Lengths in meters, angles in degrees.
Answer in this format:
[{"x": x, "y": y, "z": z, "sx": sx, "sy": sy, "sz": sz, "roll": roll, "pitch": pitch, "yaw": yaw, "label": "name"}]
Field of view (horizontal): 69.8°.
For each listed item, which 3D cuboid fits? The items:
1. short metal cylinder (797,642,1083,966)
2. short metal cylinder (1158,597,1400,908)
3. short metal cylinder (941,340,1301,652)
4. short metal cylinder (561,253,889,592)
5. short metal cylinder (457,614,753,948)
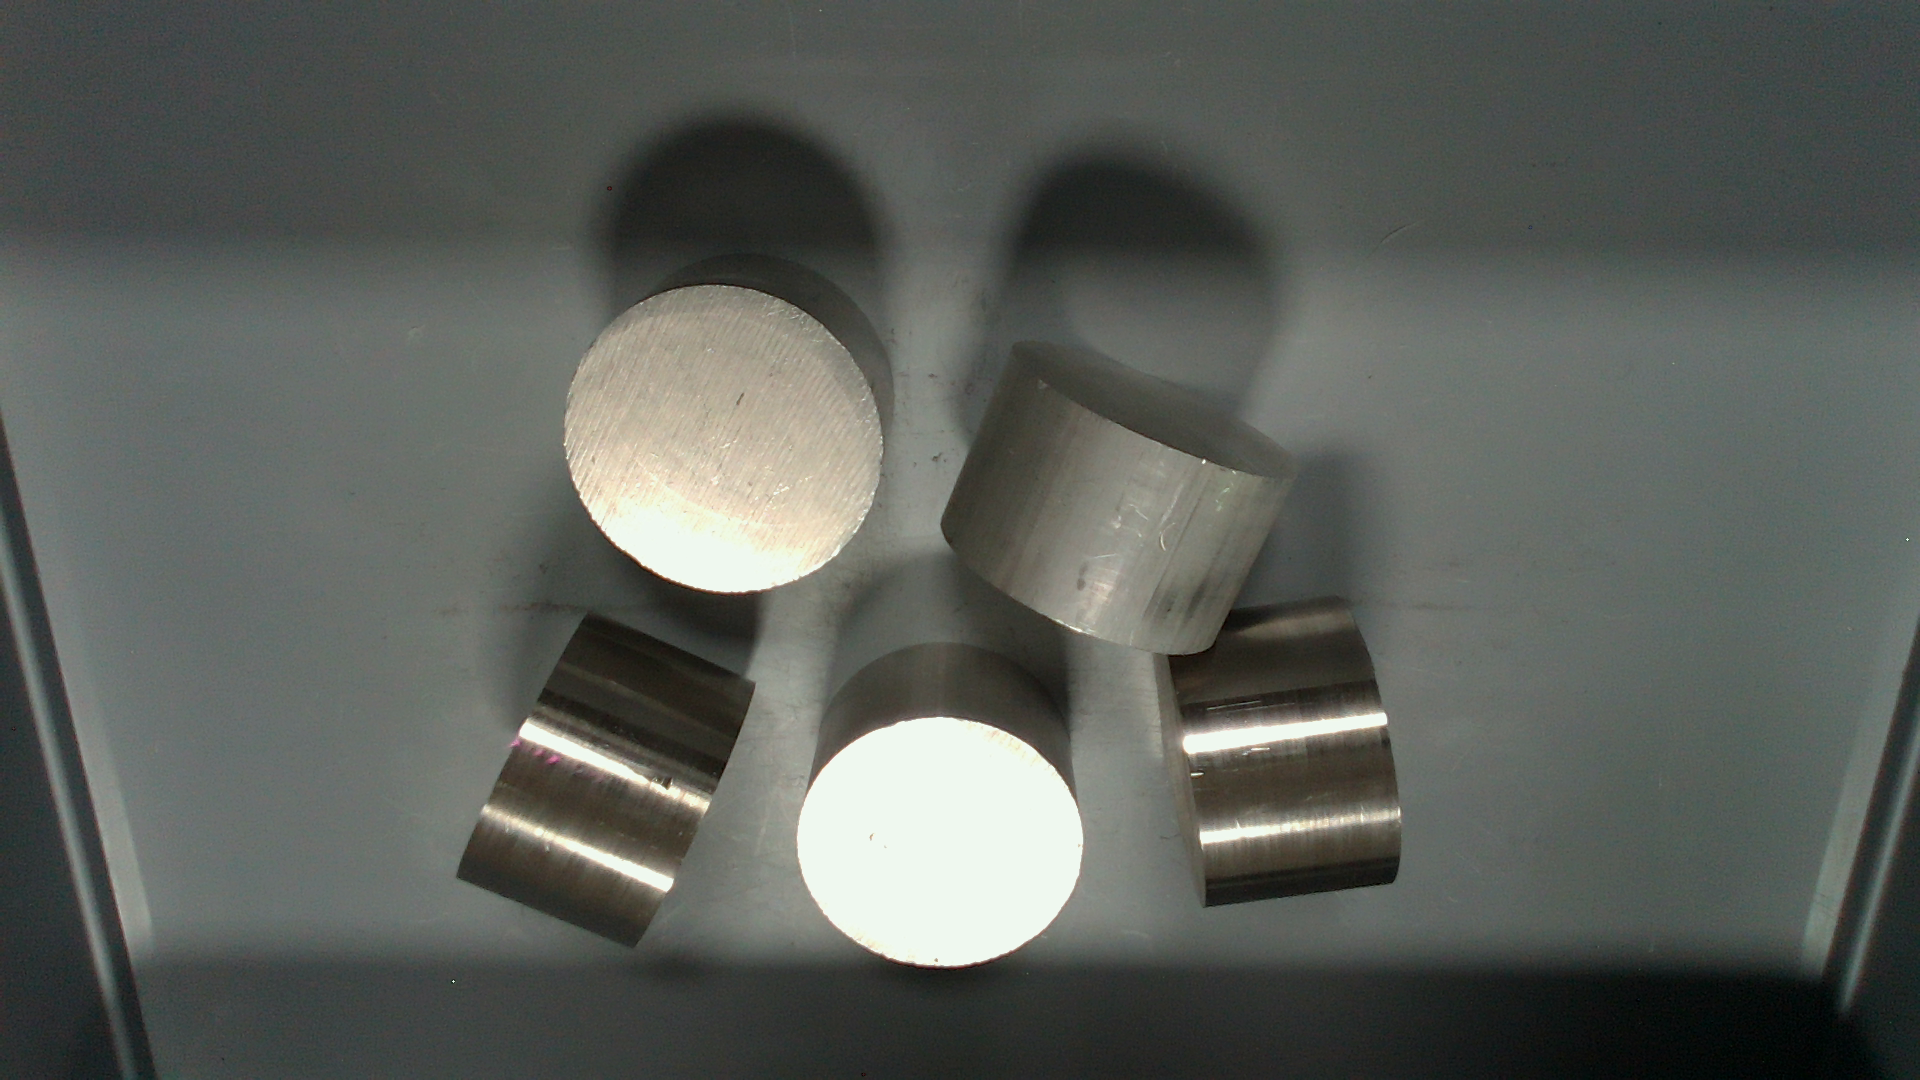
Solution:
[{"x": -0.005, "y": 0.077, "z": 0.408, "sx": 0.080, "sy": 0.050, "sz": 0.080, "roll": 0, "pitch": 110, "yaw": 0, "label": "short metal cylinder"}, {"x": 0.086, "y": 0.059, "z": 0.385, "sx": 0.050, "sy": 0.080, "sz": 0.080, "roll": -9, "pitch": 110, "yaw": 3, "label": "short metal cylinder"}, {"x": 0.041, "y": -0.013, "z": 0.360, "sx": 0.080, "sy": 0.080, "sz": 0.050, "roll": 20, "pitch": 109, "yaw": -7, "label": "short metal cylinder"}, {"x": -0.059, "y": -0.033, "z": 0.367, "sx": 0.080, "sy": 0.050, "sz": 0.080, "roll": 0, "pitch": 110, "yaw": 0, "label": "short metal cylinder"}, {"x": -0.098, "y": 0.067, "z": 0.387, "sx": 0.050, "sy": 0.080, "sz": 0.080, "roll": 25, "pitch": 108, "yaw": -9, "label": "short metal cylinder"}]
